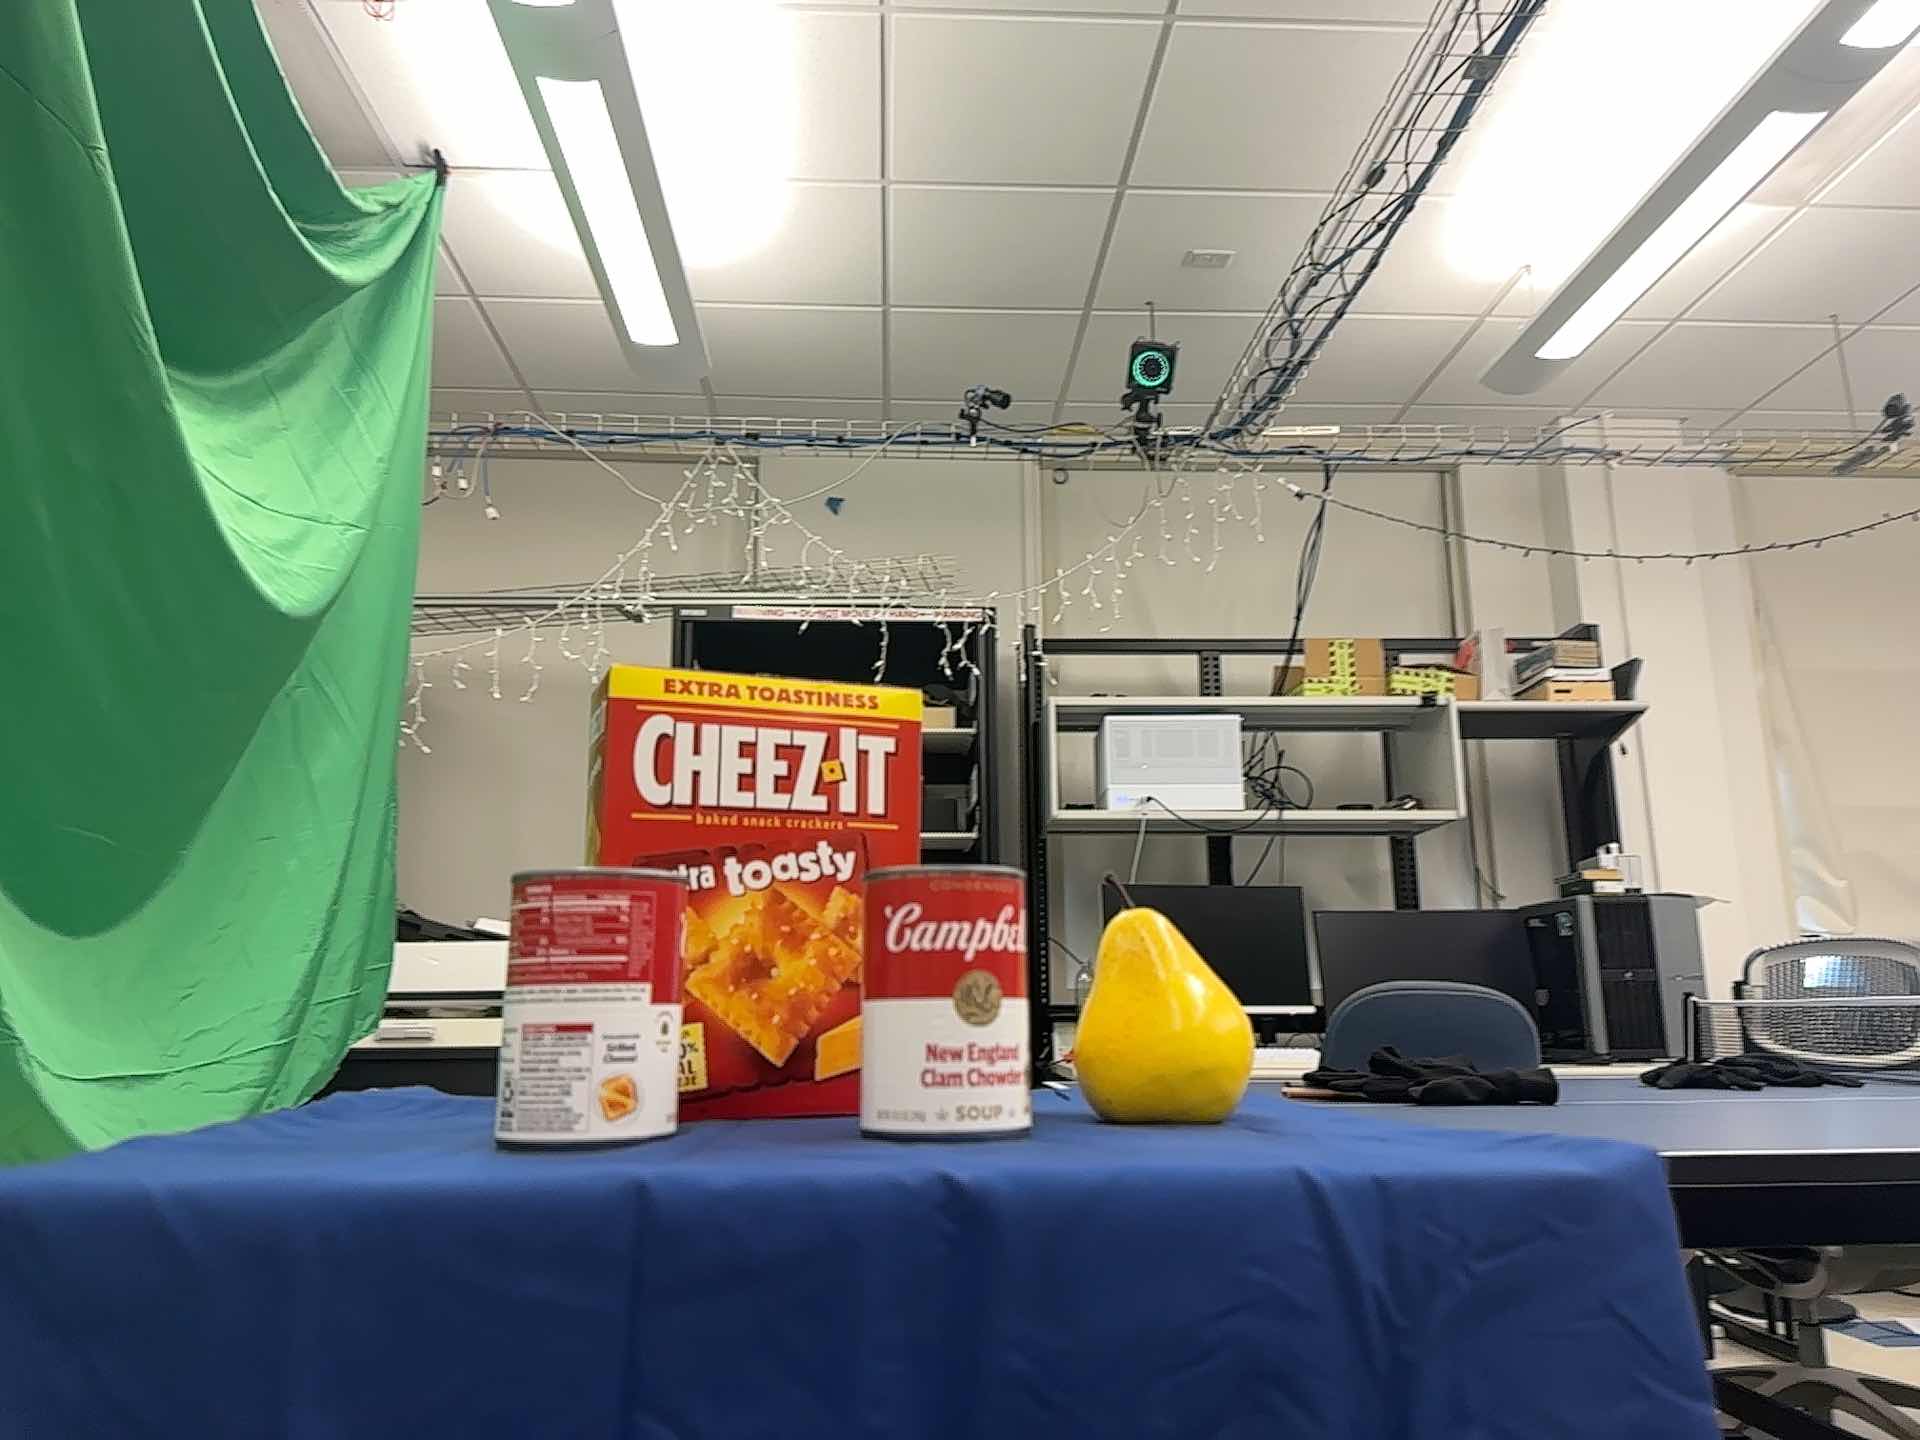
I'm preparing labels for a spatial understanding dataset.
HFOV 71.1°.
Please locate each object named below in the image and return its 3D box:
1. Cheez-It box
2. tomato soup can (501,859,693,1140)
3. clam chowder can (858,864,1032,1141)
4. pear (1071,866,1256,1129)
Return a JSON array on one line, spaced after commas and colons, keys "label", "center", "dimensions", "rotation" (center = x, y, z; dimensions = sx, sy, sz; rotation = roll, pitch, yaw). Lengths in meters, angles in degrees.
[{"label": "Cheez-It box", "center": [-0.107, 0.087, 0.683], "dimensions": [0.159, 0.214, 0.062], "rotation": [4, -12, -20]}, {"label": "tomato soup can", "center": [-0.141, 0.108, 0.521], "dimensions": [0.067, 0.102, 0.067], "rotation": [-1, -13, 0]}, {"label": "clam chowder can", "center": [-0.007, 0.111, 0.534], "dimensions": [0.068, 0.102, 0.068], "rotation": [-1, -12, 0]}, {"label": "pear", "center": [0.089, 0.121, 0.593], "dimensions": [0.080, 0.111, 0.080], "rotation": [2, -11, 0]}]
